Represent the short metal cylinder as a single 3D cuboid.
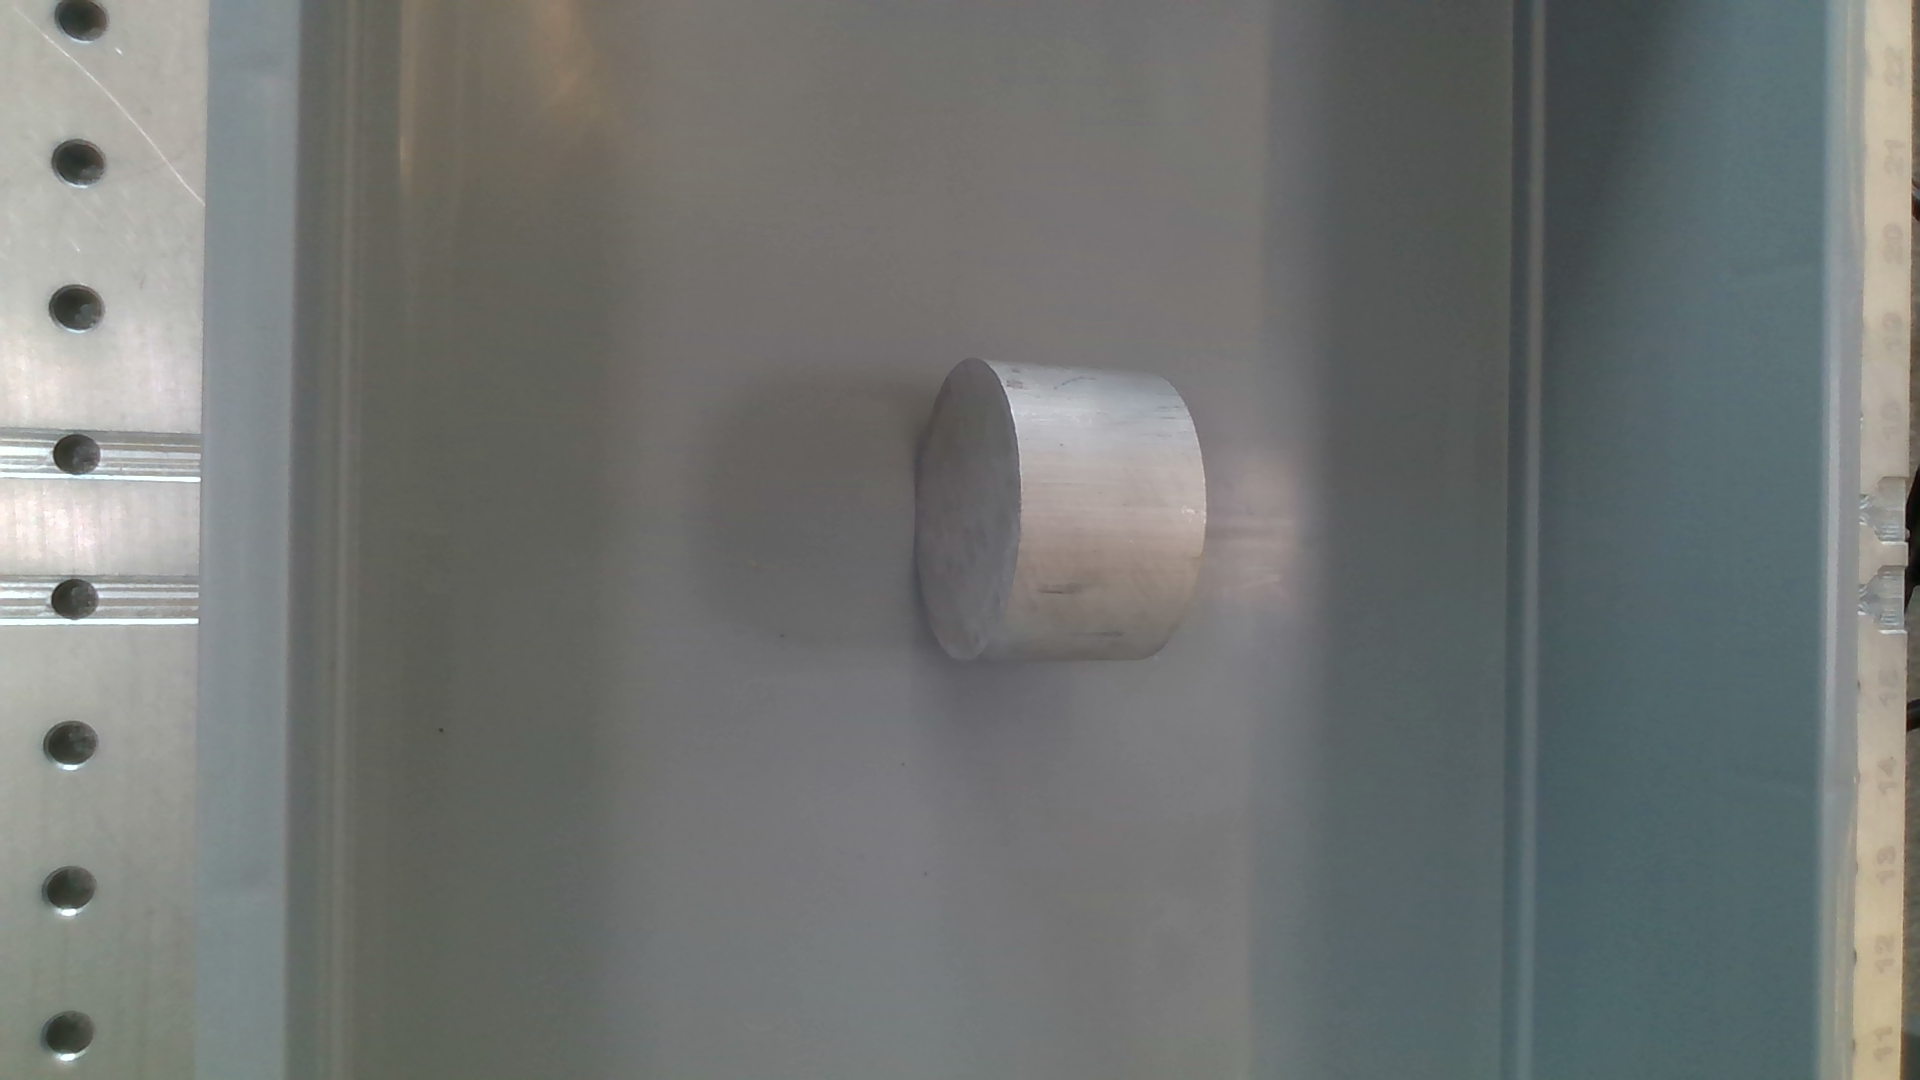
[{"bbox_3d":[0.024,-0.008,0.371,0.050,0.080,0.080,2,89,-20],"label":"short metal cylinder"}]
